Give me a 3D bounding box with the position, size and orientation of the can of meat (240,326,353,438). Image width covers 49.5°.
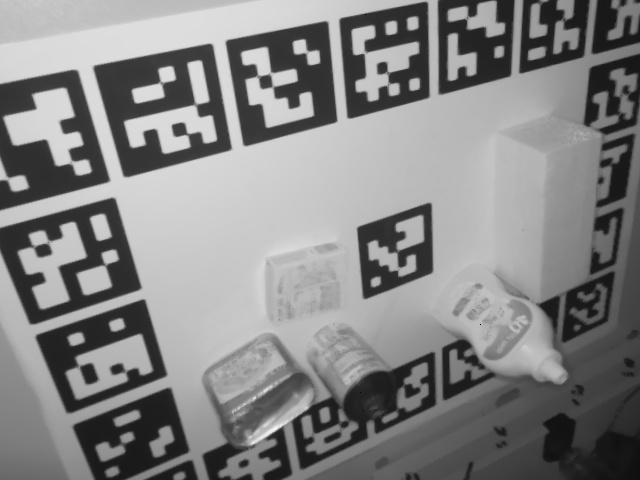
[{"bbox_3d":[-0.029,0.149,0.746,0.102,0.083,0.057,-29,122,-9],"label":"can of meat"}]

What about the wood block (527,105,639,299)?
[{"bbox_3d":[0.317,-0.043,0.829,0.092,0.089,0.204,-17,123,-17],"label":"wood block"}]

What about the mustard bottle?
[{"bbox_3d":[0.259,0.096,0.809,0.096,0.190,0.058,-39,125,-3],"label":"mustard bottle"}]

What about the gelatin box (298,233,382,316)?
[{"bbox_3d":[0.021,0.036,0.746,0.090,0.030,0.073,-9,115,-26],"label":"gelatin box"}]

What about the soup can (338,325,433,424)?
[{"bbox_3d":[0.070,0.147,0.774,0.069,0.101,0.067,-11,116,-22],"label":"soup can"}]
